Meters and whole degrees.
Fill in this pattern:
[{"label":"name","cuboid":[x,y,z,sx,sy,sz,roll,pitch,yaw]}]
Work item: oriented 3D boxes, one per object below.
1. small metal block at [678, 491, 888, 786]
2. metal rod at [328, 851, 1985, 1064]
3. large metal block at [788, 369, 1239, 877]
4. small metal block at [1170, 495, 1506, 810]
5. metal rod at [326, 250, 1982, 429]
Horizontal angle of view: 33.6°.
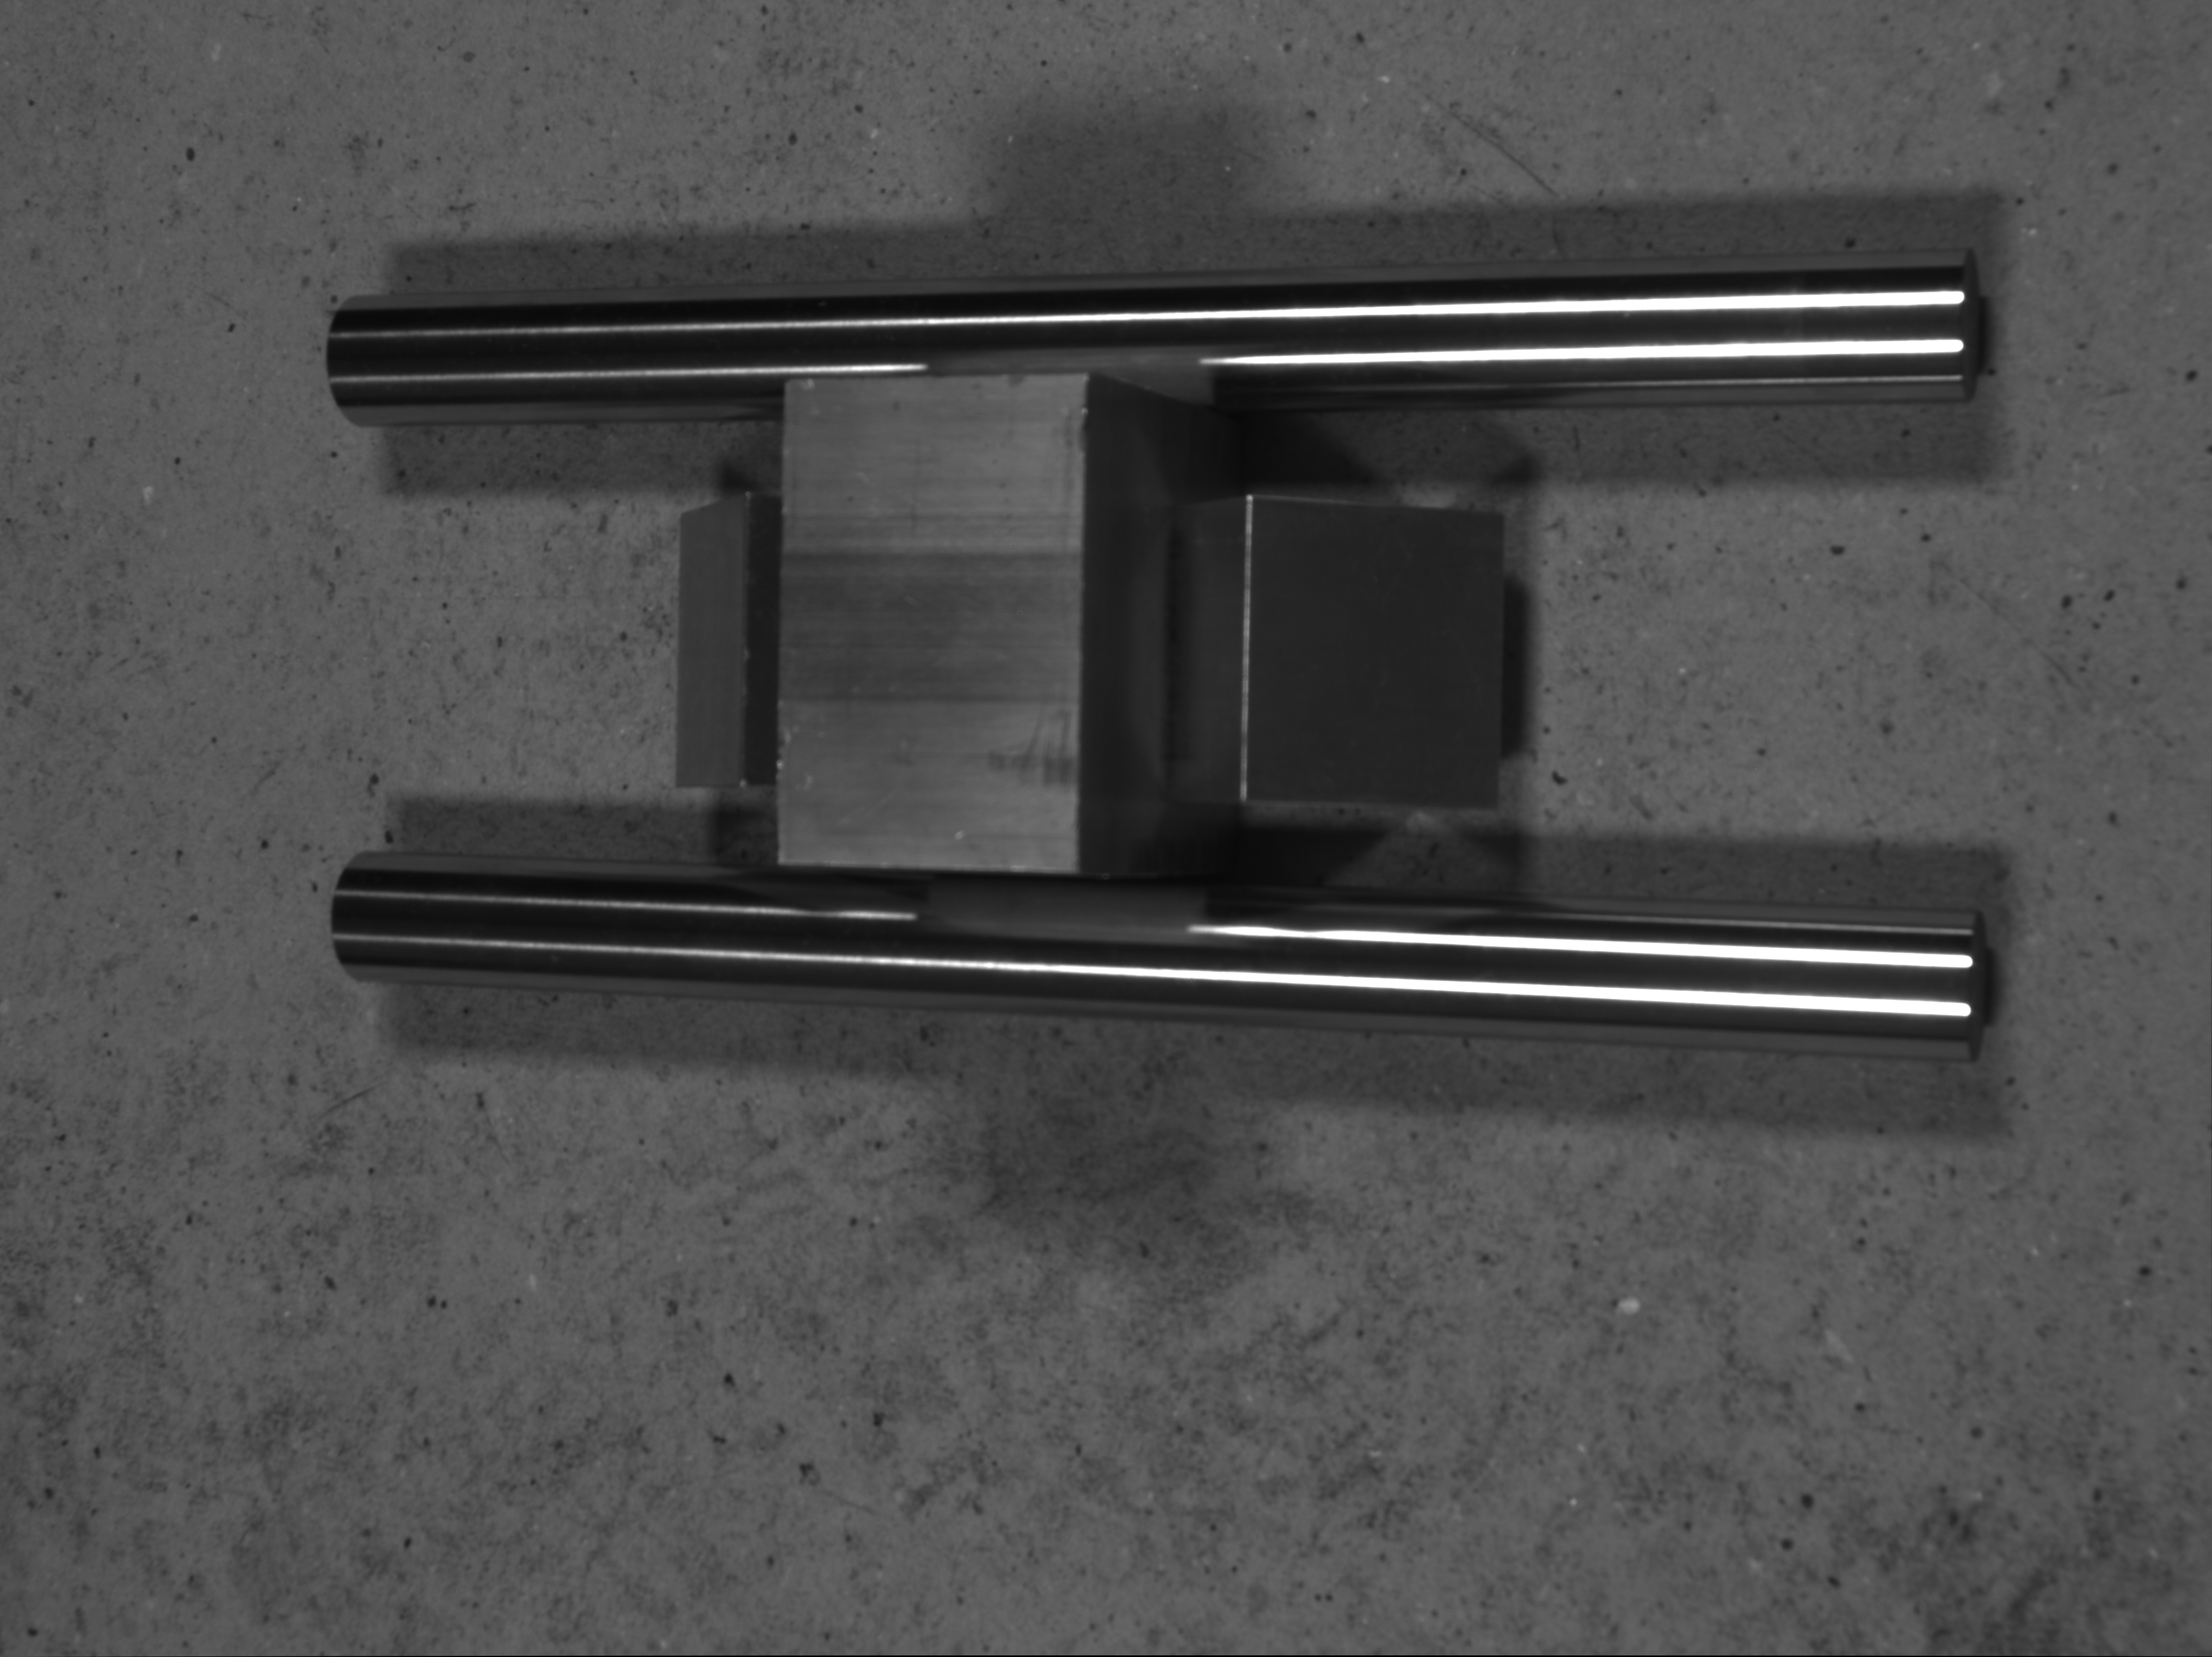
[{"label":"small metal block","cuboid":[-0.058,-0.032,0.651,0.025,0.050,0.050,1,91,-19]},{"label":"metal rod","cuboid":[0.000,0.021,0.644,0.299,0.025,0.025,2,90,20]},{"label":"large metal block","cuboid":[-0.014,-0.033,0.623,0.050,0.080,0.080,1,90,20]},{"label":"small metal block","cuboid":[0.039,-0.029,0.616,0.025,0.050,0.050,0,89,61]},{"label":"metal rod","cuboid":[0.000,-0.085,0.645,0.299,0.025,0.025,1,90,20]}]
